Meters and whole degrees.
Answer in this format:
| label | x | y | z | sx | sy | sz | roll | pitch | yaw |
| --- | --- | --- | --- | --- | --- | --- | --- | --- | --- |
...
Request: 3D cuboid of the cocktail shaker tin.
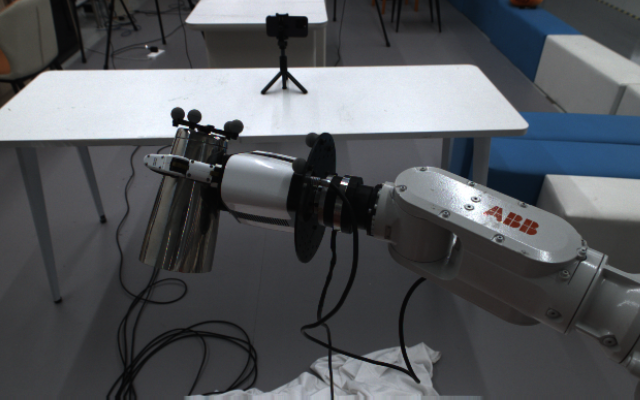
| label | x | y | z | sx | sy | sz | roll | pitch | yaw |
| --- | --- | --- | --- | --- | --- | --- | --- | --- | --- |
| cocktail shaker tin | -0.164 | -0.003 | 0.620 | 0.093 | 0.170 | 0.093 | 12 | 1 | 0 |
